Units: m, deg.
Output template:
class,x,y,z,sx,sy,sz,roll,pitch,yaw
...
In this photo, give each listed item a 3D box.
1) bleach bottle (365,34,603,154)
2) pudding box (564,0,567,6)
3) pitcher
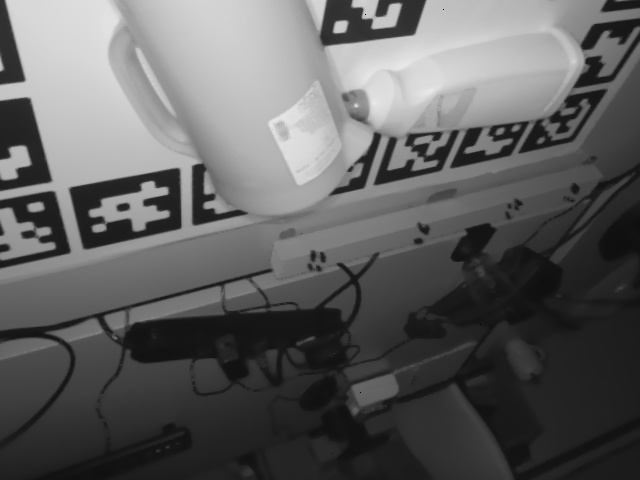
class,x,y,z,sx,sy,sz,roll,pitch,yaw
bleach bottle,0.160,-0.144,0.715,0.253,0.068,0.101,-13,142,-17
pudding box,0.240,-0.265,0.607,0.089,0.039,0.115,-32,147,20
pitcher,-0.058,-0.142,0.530,0.187,0.134,0.242,3,149,19
